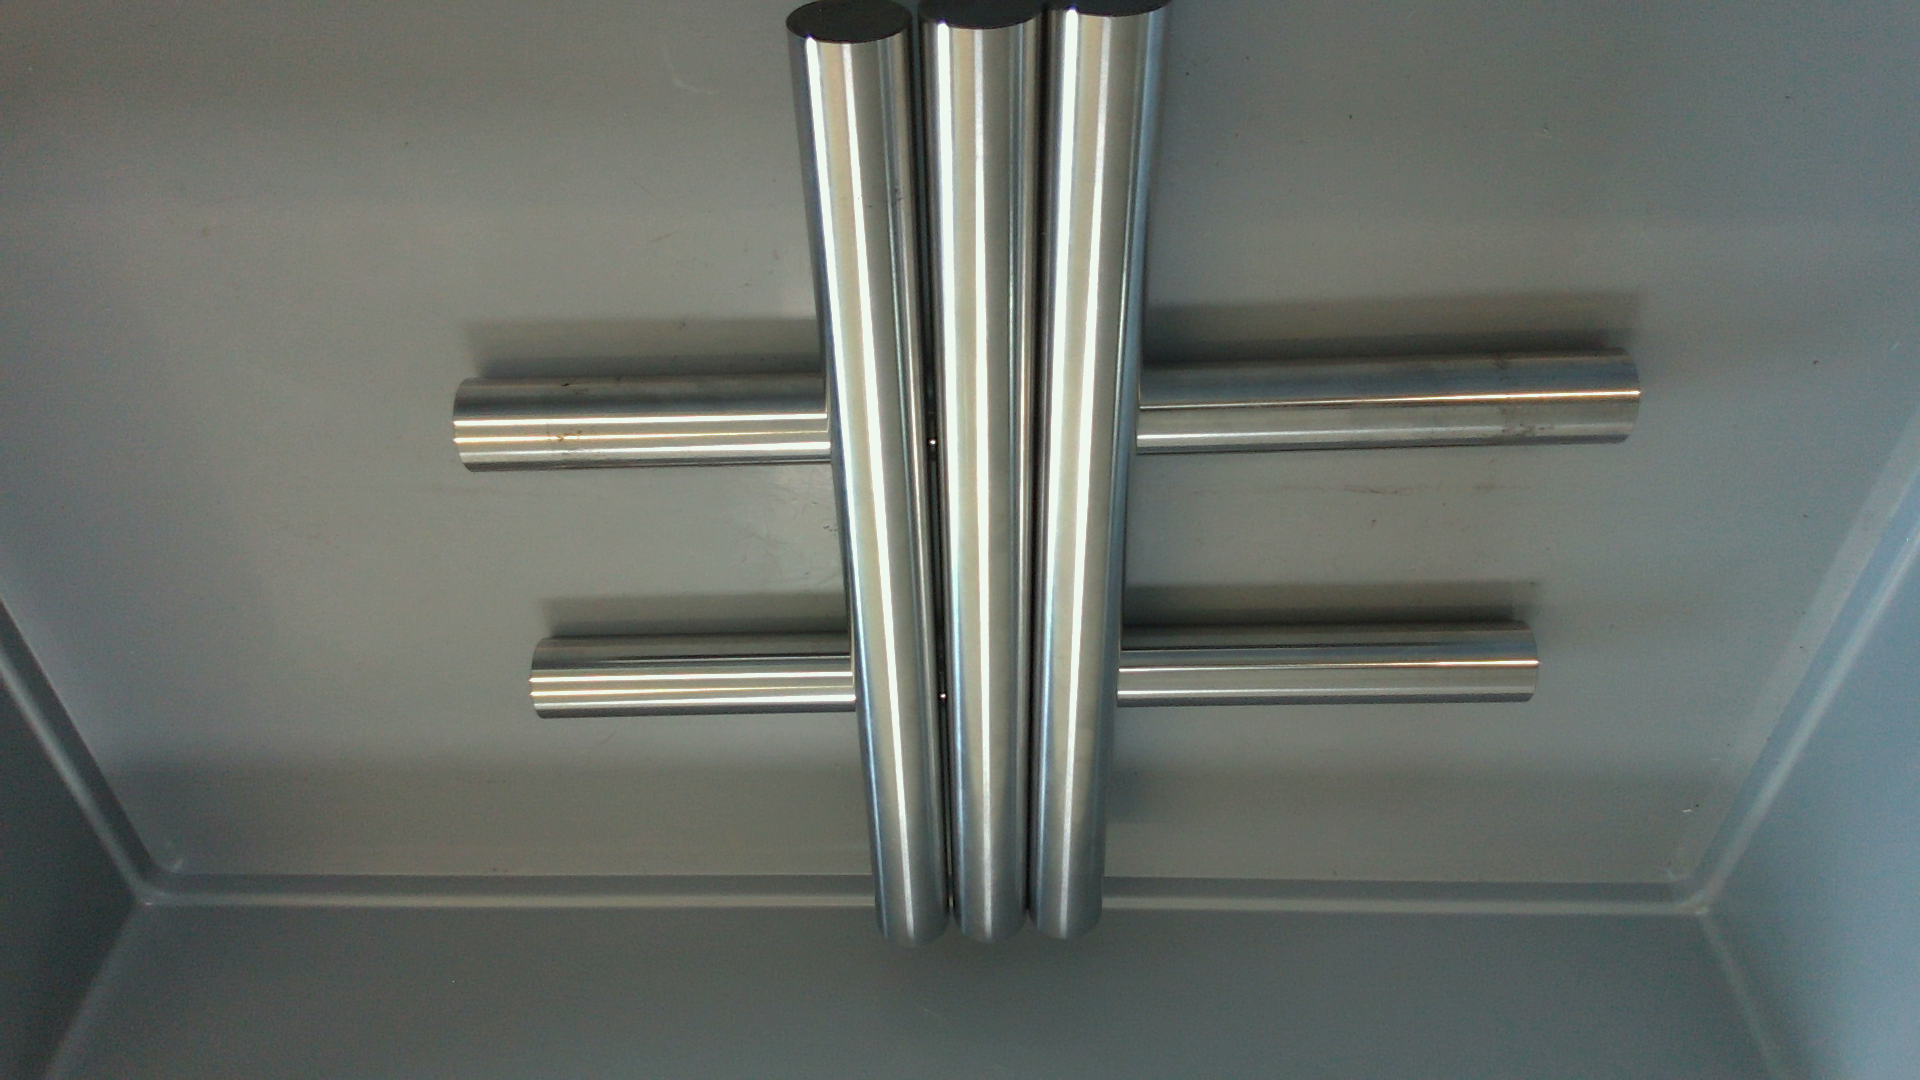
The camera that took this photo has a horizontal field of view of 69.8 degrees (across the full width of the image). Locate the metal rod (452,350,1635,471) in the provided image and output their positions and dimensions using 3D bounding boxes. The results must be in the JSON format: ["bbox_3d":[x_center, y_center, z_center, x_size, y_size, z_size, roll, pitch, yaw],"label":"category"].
[{"bbox_3d":[0.021,-0.034,0.361,0.300,0.025,0.025,-1,130,1],"label":"metal rod"}]

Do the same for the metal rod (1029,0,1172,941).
[{"bbox_3d":[0.032,0.009,0.363,0.025,0.025,0.300,-1,130,1],"label":"metal rod"}]

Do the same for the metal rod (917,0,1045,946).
[{"bbox_3d":[0.007,0.011,0.364,0.025,0.025,0.300,-1,130,1],"label":"metal rod"}]

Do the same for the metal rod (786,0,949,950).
[{"bbox_3d":[-0.018,0.013,0.366,0.025,0.025,0.300,-1,130,1],"label":"metal rod"}]

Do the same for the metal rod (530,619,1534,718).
[{"bbox_3d":[0.021,0.040,0.423,0.300,0.025,0.025,-1,130,1],"label":"metal rod"}]
